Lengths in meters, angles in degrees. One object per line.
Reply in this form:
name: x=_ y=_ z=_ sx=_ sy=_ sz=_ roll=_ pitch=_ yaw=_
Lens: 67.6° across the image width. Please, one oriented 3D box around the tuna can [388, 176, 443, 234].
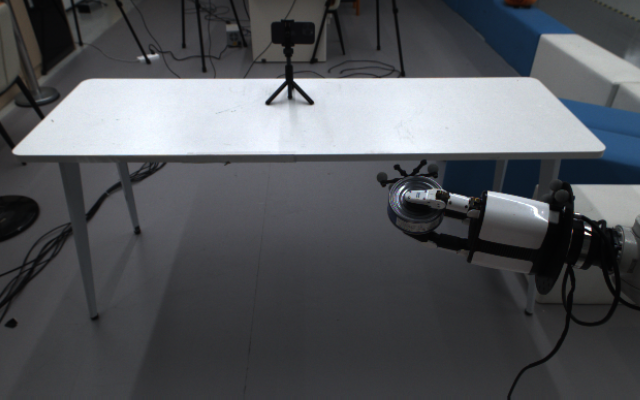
tuna can: x=0.146 y=0.005 z=0.721 sx=0.085 sy=0.034 sz=0.085 roll=-3 pitch=59 yaw=5
